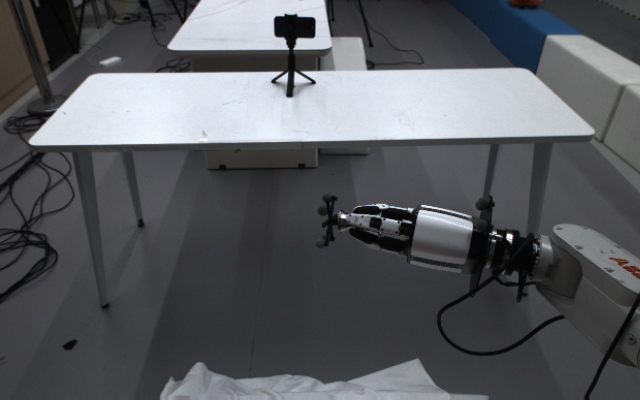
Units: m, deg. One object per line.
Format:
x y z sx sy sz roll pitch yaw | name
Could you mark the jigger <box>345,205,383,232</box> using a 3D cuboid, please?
0.072 0.034 0.785 0.071 0.043 0.043 4 34 14 | jigger
